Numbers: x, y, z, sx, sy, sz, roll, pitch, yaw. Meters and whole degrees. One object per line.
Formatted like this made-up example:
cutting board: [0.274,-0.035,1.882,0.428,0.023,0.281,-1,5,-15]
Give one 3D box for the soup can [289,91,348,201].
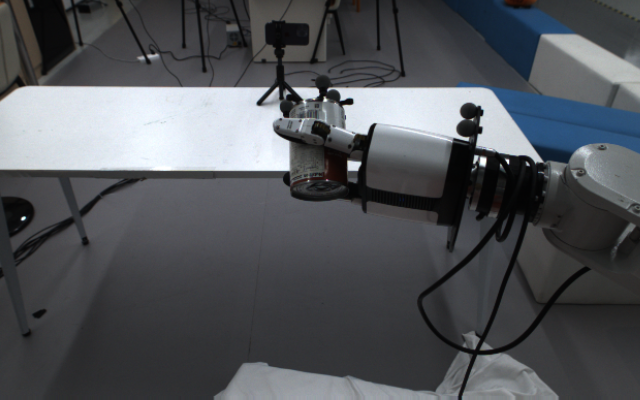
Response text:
soup can: [0.000,-0.058,0.557,0.067,0.067,0.101,-1,71,-5]
